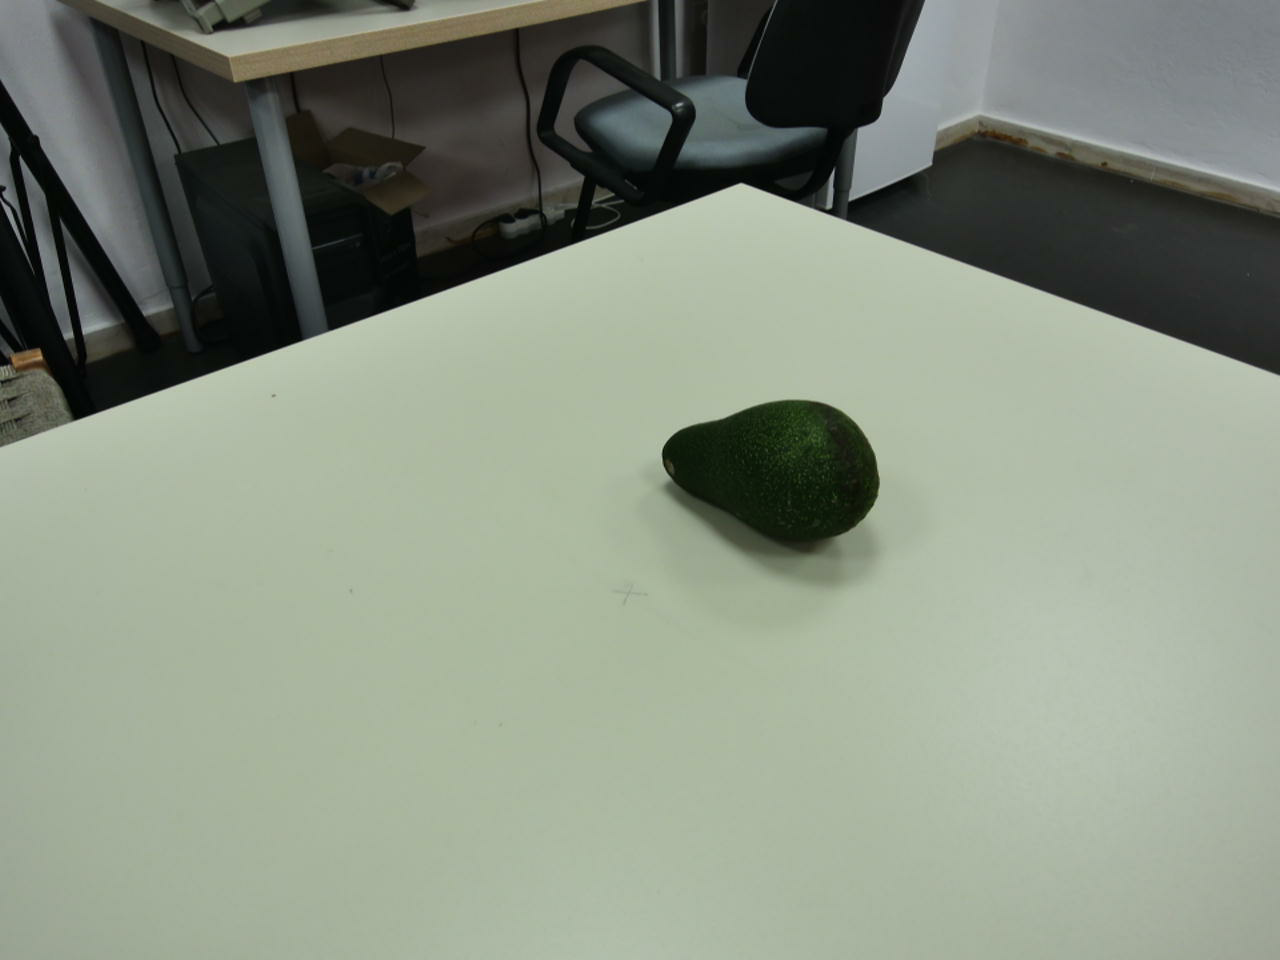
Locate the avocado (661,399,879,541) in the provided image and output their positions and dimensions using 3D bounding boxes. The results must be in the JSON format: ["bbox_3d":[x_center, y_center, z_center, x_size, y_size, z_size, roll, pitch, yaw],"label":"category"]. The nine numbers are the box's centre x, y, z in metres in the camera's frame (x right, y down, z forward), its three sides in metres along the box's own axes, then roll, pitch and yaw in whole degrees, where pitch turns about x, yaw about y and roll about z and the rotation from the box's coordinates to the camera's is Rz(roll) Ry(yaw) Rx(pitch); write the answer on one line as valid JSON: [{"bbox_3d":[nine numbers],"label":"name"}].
[{"bbox_3d":[0.073,-0.012,0.530,0.074,0.076,0.123,-21,41,-26],"label":"avocado"}]
